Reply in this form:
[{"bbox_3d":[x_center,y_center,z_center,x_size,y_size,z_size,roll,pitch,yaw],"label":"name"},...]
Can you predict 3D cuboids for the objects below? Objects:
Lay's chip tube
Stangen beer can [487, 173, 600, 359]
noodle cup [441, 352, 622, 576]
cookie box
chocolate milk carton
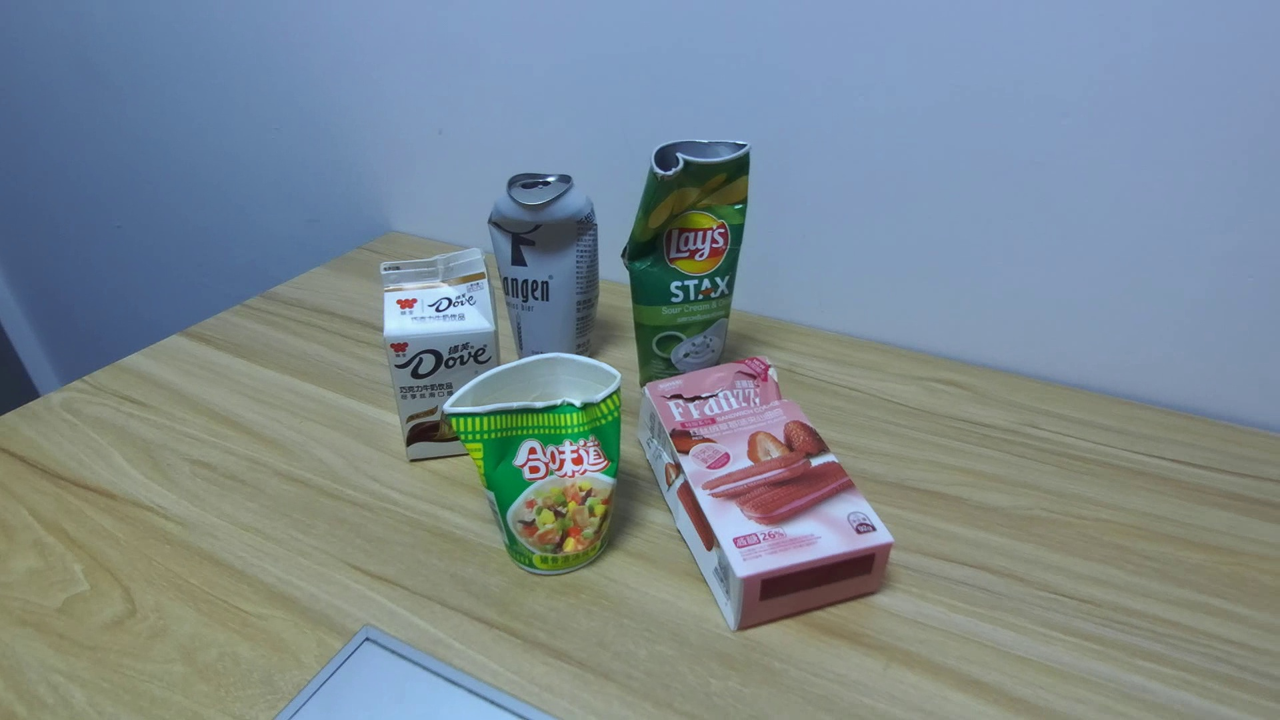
[{"bbox_3d":[0.035,-0.064,0.545,0.069,0.201,0.077,17,39,24],"label":"Lay's chip tube"},{"bbox_3d":[-0.078,-0.071,0.591,0.077,0.162,0.065,-17,36,-25],"label":"Stangen beer can"},{"bbox_3d":[-0.052,0.064,0.428,0.082,0.122,0.075,2,24,22],"label":"noodle cup"},{"bbox_3d":[0.071,0.078,0.462,0.105,0.059,0.185,-11,37,-11],"label":"cookie box"},{"bbox_3d":[-0.137,-0.010,0.510,0.075,0.148,0.074,-4,35,-7],"label":"chocolate milk carton"}]
